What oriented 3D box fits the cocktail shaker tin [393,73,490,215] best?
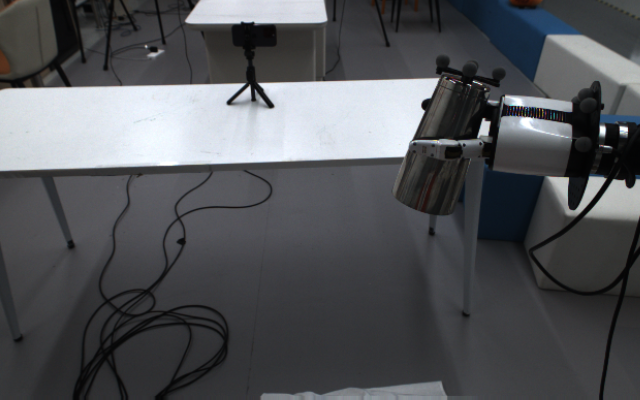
[{"bbox_3d":[0.167,-0.079,0.651,0.093,0.170,0.093,12,24,-5],"label":"cocktail shaker tin"}]
